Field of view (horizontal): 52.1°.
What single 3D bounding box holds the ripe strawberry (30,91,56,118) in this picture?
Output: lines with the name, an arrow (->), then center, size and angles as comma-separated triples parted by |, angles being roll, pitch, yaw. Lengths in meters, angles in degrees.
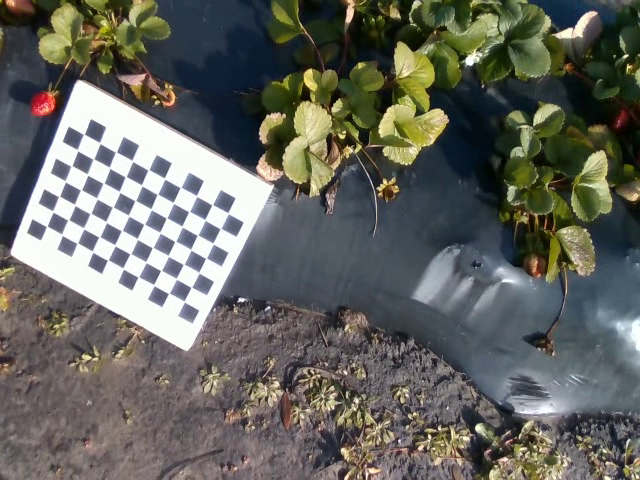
ripe strawberry -> -0.329, -0.154, 0.769 | 0.034, 0.038, 0.033 | 27, -38, 2
